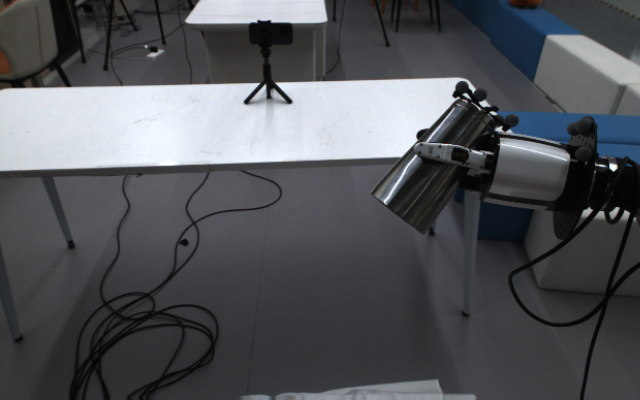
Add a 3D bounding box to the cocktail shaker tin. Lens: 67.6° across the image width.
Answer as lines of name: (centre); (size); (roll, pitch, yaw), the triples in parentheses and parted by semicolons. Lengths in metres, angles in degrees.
cocktail shaker tin: (0.157, -0.052, 0.649); (0.170, 0.093, 0.093); (-50, 46, 4)
